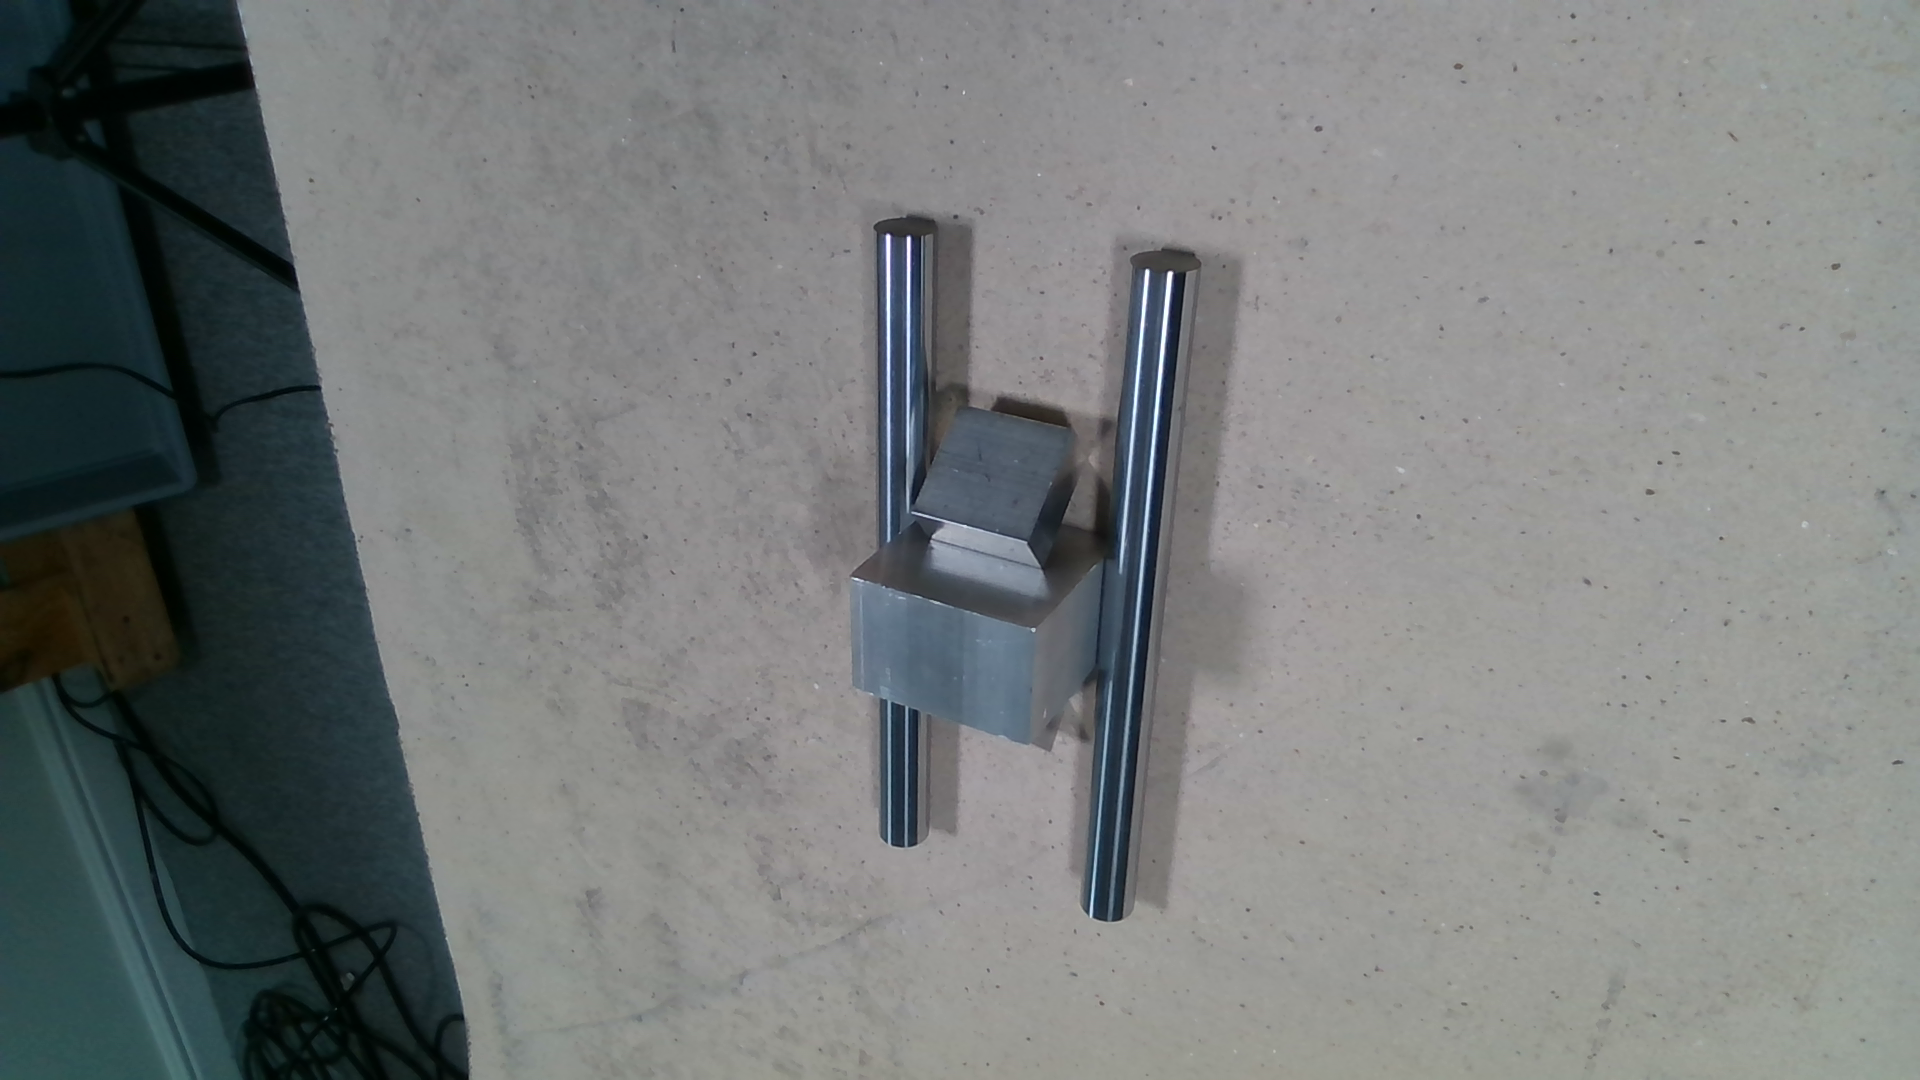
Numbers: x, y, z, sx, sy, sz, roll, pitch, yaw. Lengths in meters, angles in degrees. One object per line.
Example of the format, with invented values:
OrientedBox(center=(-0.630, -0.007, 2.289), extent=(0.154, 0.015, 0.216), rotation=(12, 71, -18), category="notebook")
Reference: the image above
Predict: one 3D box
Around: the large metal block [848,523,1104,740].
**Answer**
OrientedBox(center=(0.011, 0.028, 0.556), extent=(0.080, 0.080, 0.050), rotation=(15, 122, 24), category="large metal block")

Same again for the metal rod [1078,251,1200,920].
OrientedBox(center=(0.069, 0.034, 0.556), extent=(0.025, 0.025, 0.301), rotation=(16, 122, 24), category="metal rod")

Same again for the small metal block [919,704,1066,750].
OrientedBox(center=(0.013, 0.068, 0.592), extent=(0.050, 0.050, 0.025), rotation=(15, 80, 24), category="small metal block")

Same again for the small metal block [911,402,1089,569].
OrientedBox(center=(0.016, -0.022, 0.540), extent=(0.050, 0.050, 0.025), rotation=(15, 161, 25), category="small metal block")

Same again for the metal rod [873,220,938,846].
OrientedBox(center=(-0.024, 0.011, 0.601), extent=(0.025, 0.025, 0.301), rotation=(16, 123, 24), category="metal rod")
